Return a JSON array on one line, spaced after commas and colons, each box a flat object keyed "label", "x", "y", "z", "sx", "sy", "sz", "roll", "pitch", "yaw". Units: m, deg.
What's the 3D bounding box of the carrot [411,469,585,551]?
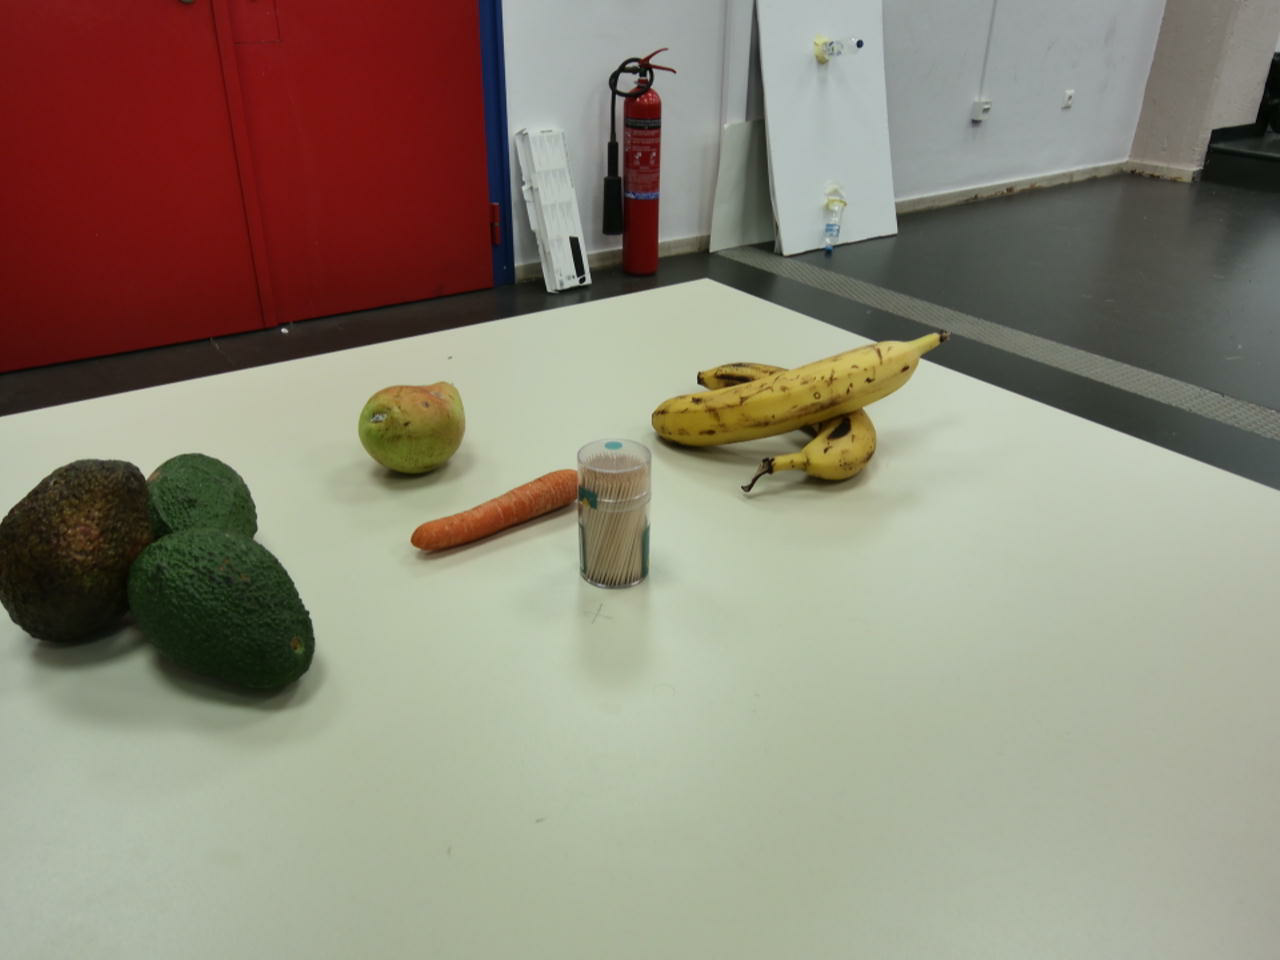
[{"label": "carrot", "x": -0.085, "y": 0.018, "z": 0.612, "sx": 0.122, "sy": 0.023, "sz": 0.024, "roll": -19, "pitch": 32, "yaw": -35}]
